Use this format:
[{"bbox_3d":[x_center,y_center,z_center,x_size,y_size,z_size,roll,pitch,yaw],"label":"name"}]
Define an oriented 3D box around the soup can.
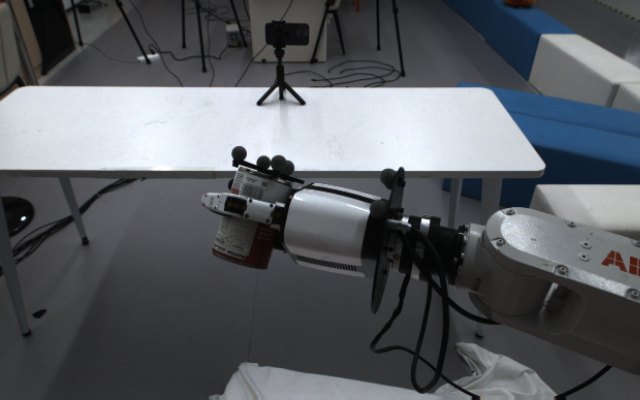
[{"bbox_3d":[-0.075,0.021,0.552,0.067,0.101,0.067,17,-1,0],"label":"soup can"}]
